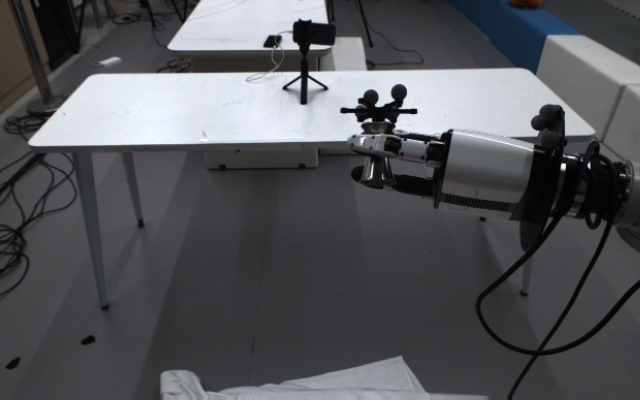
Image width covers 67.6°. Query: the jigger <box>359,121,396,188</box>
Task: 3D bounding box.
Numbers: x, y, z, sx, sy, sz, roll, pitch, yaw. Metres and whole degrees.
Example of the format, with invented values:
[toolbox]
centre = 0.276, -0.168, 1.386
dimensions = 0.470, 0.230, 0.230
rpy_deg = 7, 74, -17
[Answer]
[jigger]
centre = 0.066, -0.054, 0.564
dimensions = 0.043, 0.071, 0.043
rpy_deg = 2, -6, 0
